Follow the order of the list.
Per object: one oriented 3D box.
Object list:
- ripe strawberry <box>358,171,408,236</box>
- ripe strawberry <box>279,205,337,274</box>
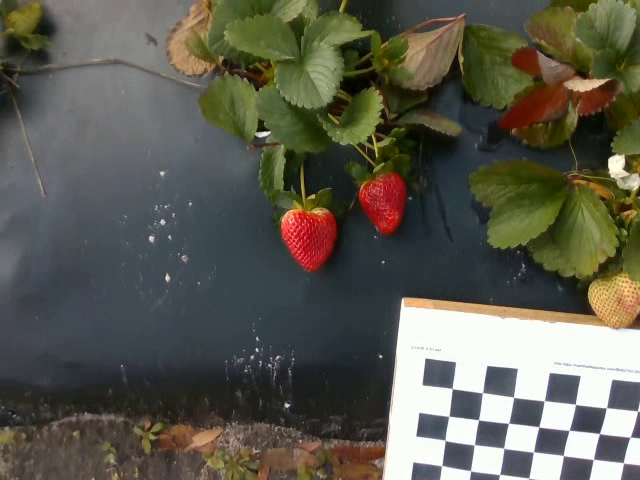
[{"bbox_3d":[0.050,-0.029,0.478,0.042,0.053,0.034,-10,-19,13],"label":"ripe strawberry"},{"bbox_3d":[-0.009,0.000,0.486,0.050,0.061,0.045,-5,-21,12],"label":"ripe strawberry"}]
